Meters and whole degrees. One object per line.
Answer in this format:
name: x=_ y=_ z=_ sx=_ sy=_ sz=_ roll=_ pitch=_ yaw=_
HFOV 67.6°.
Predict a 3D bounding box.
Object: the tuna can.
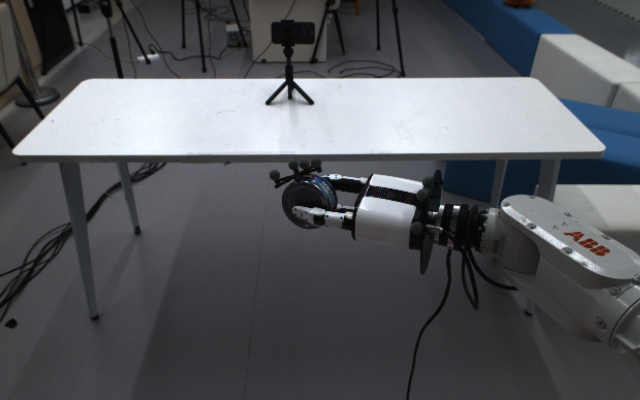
tuna can: x=-0.014 y=0.009 z=0.772 sx=0.085 sy=0.085 sz=0.034 roll=15 pitch=29 yaw=17
